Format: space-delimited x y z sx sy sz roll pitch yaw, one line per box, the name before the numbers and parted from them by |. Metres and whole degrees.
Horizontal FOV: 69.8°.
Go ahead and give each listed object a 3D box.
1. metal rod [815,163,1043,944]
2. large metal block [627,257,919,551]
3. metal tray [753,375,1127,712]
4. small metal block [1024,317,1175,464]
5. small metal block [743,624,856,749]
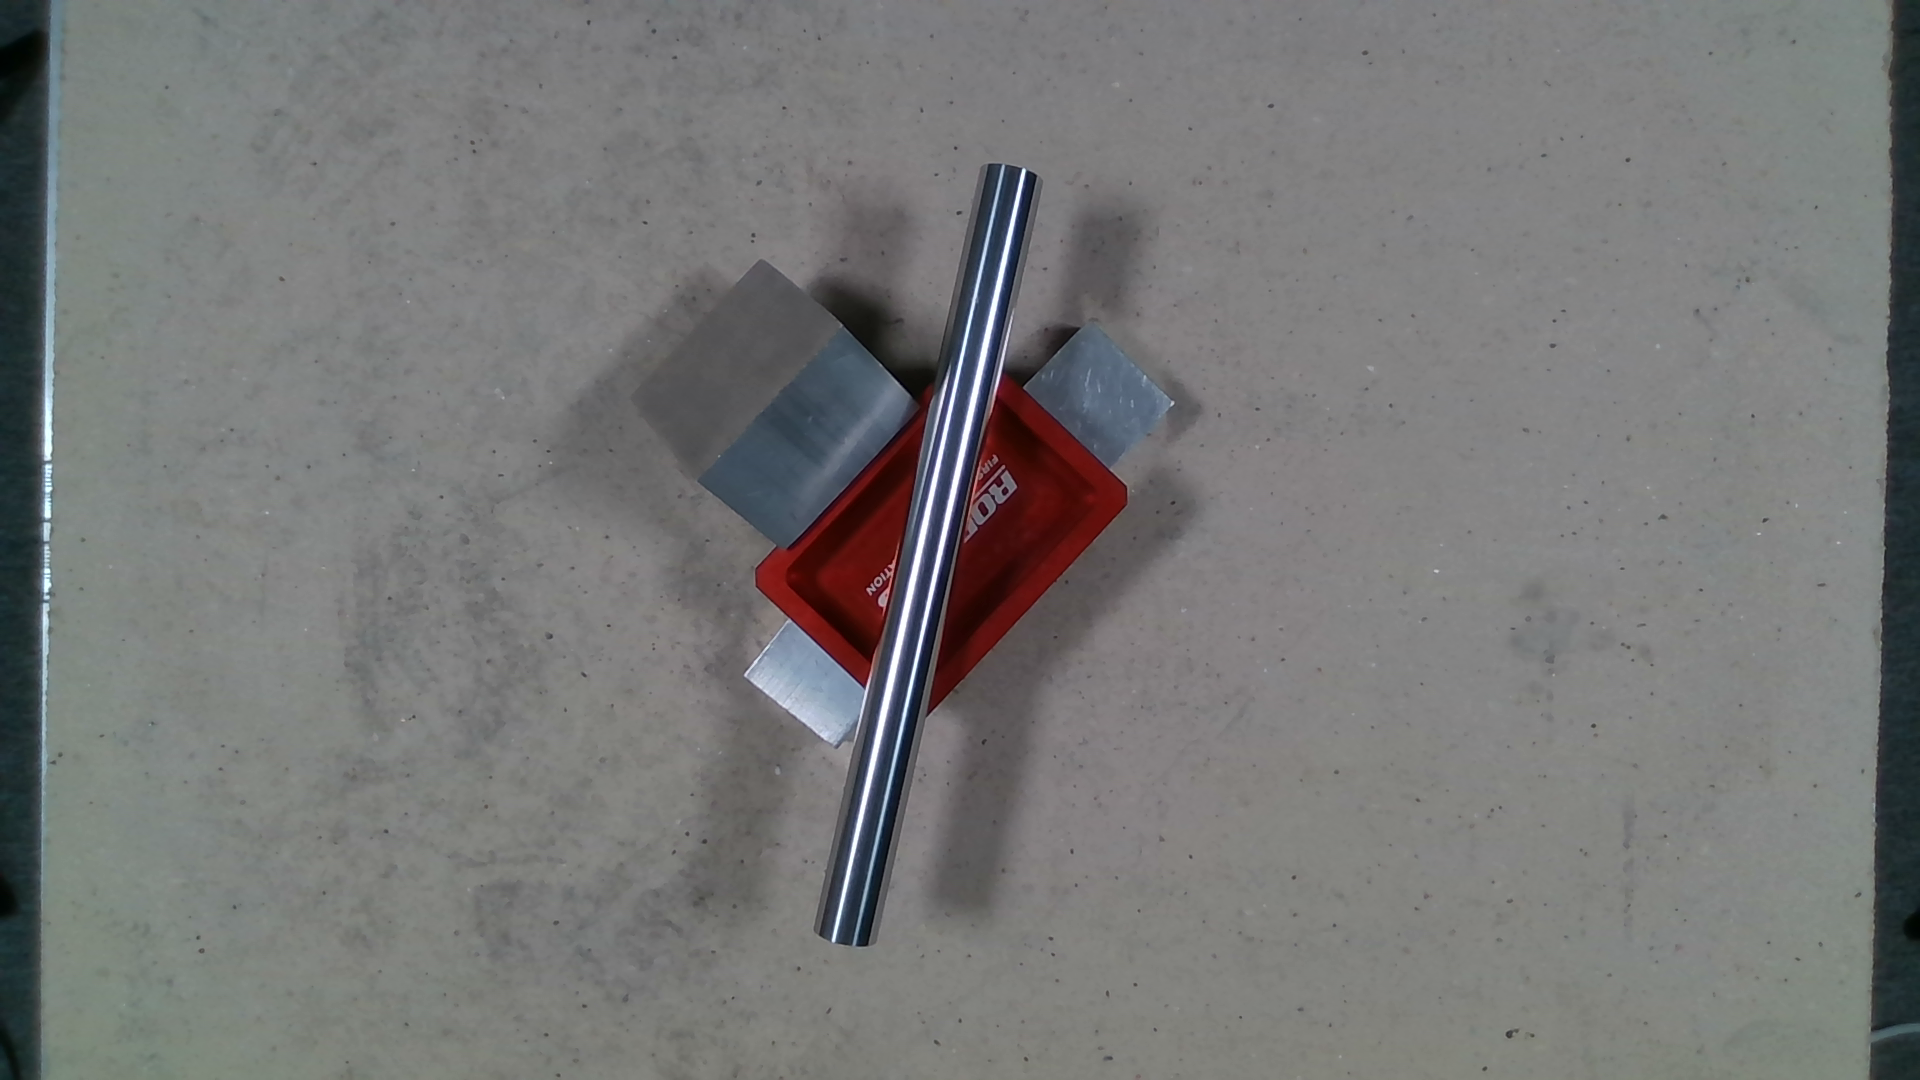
metal rod | -0.012 0.006 0.532 0.025 0.025 0.300 12 91 0
large metal block | -0.076 -0.056 0.550 0.080 0.080 0.050 -47 132 0
metal tray | -0.008 -0.002 0.559 0.090 0.030 0.130 44 90 0
small metal block | 0.054 -0.058 0.586 0.050 0.025 0.050 45 90 0
small metal block | -0.056 0.052 0.587 0.050 0.025 0.050 38 90 0
